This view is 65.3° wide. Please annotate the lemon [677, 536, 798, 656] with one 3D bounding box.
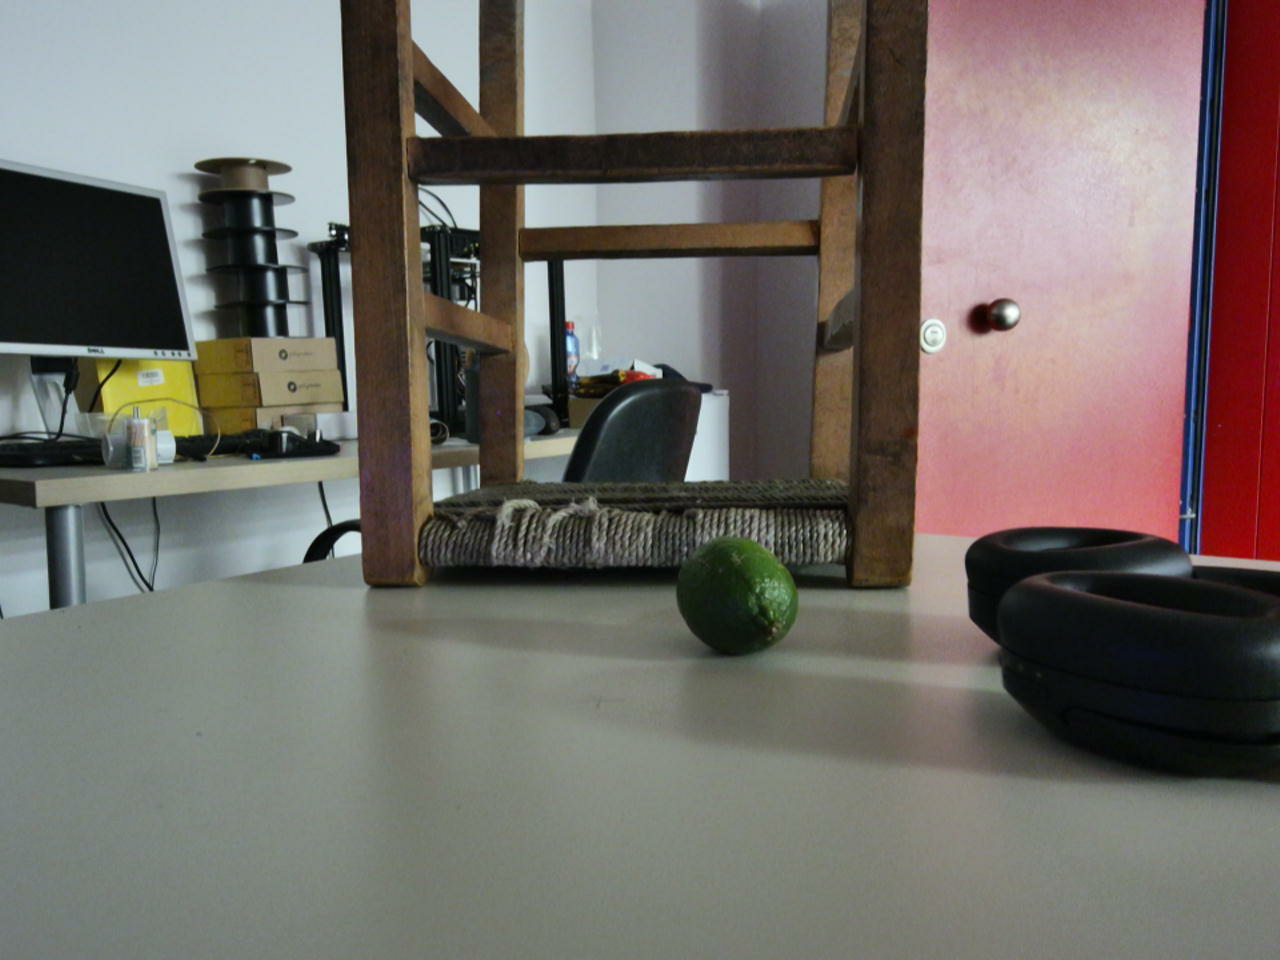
[{"bbox_3d":[0.044,0.051,0.451,0.057,0.051,0.054,2,4,34],"label":"lemon"}]
